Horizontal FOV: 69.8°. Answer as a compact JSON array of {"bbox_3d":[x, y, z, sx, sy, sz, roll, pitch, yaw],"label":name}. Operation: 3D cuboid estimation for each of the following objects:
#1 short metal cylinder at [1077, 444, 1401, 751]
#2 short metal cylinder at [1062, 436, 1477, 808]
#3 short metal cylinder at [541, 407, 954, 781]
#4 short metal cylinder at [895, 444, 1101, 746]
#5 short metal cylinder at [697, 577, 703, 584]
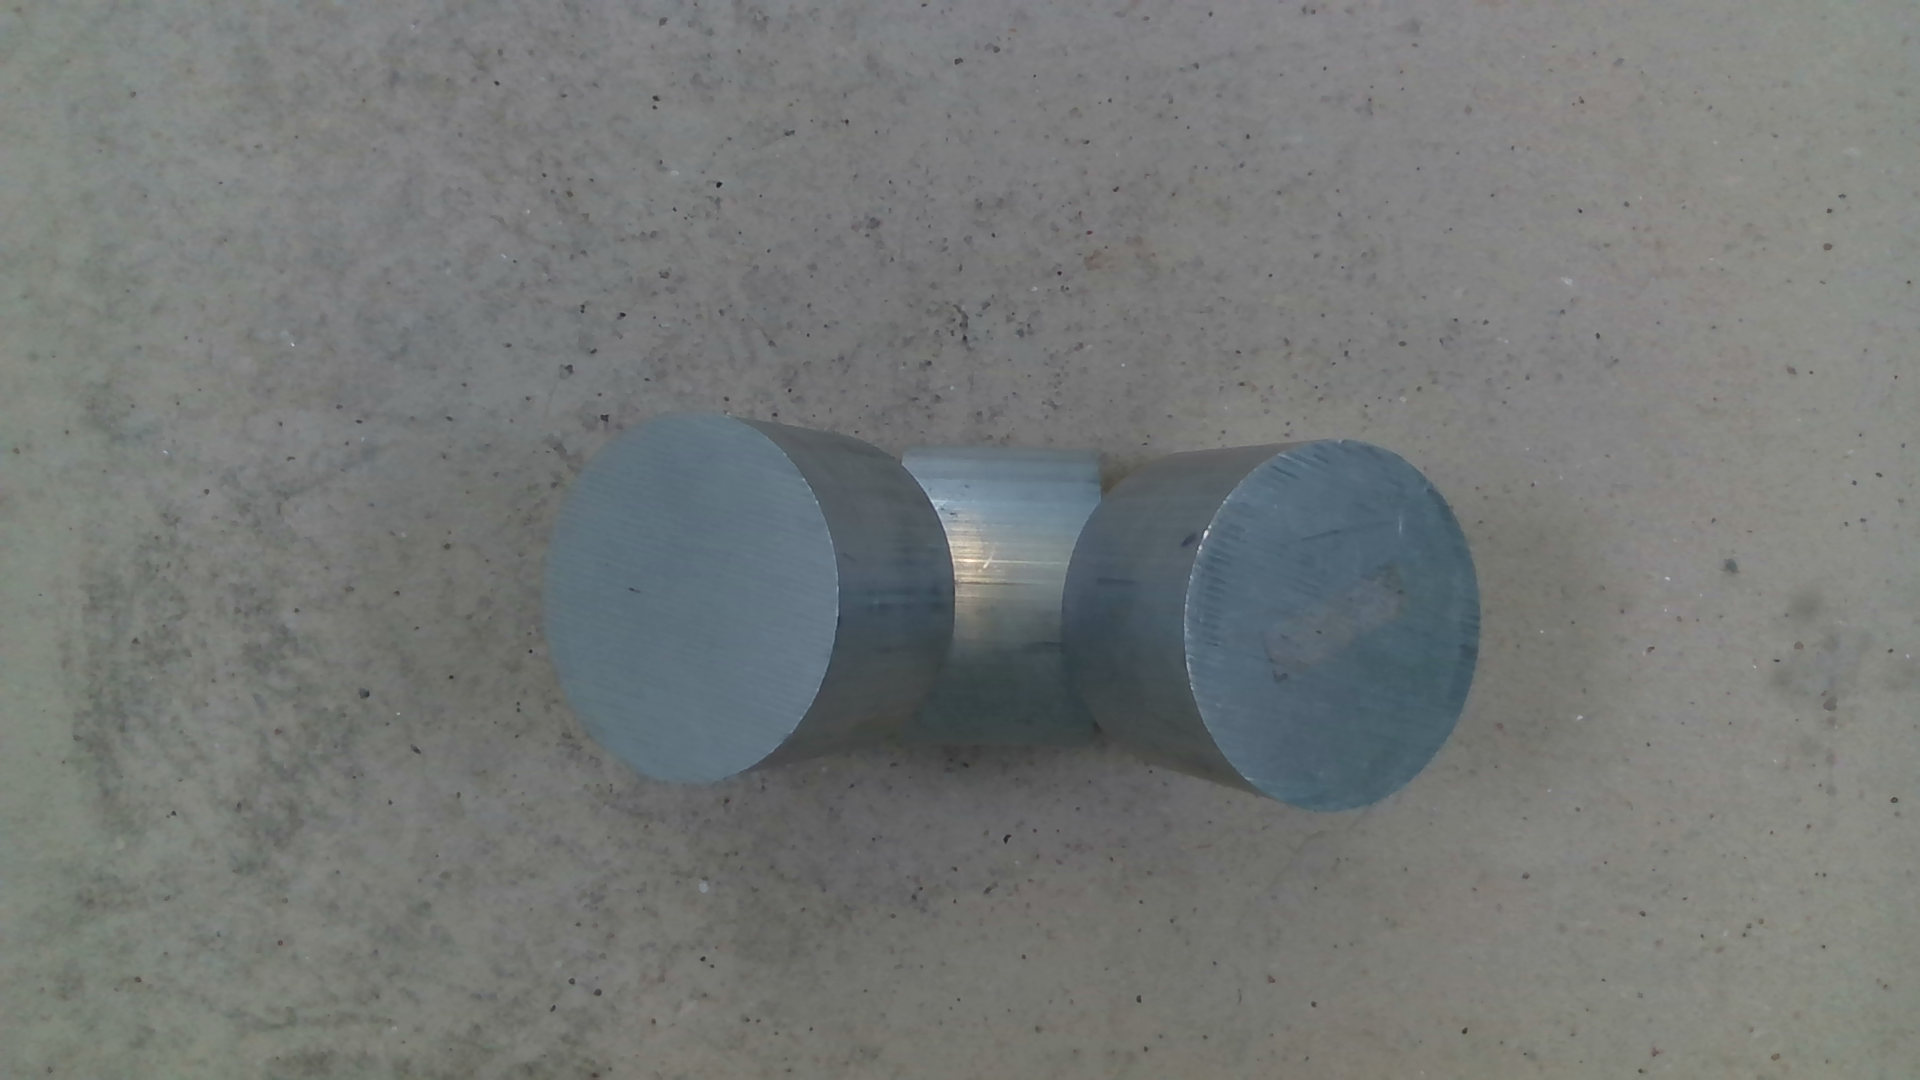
[{"bbox_3d":[0.075,0.015,0.384,0.080,0.050,0.080,0,90,0],"label":"short metal cylinder"},{"bbox_3d":[0.071,0.017,0.318,0.080,0.050,0.080,0,91,-25],"label":"short metal cylinder"},{"bbox_3d":[-0.048,0.012,0.317,0.080,0.050,0.080,-1,89,28],"label":"short metal cylinder"},{"bbox_3d":[0.009,0.014,0.369,0.050,0.080,0.080,1,90,0],"label":"short metal cylinder"},{"bbox_3d":[-0.061,0.013,0.383,0.080,0.050,0.080,0,90,0],"label":"short metal cylinder"}]
